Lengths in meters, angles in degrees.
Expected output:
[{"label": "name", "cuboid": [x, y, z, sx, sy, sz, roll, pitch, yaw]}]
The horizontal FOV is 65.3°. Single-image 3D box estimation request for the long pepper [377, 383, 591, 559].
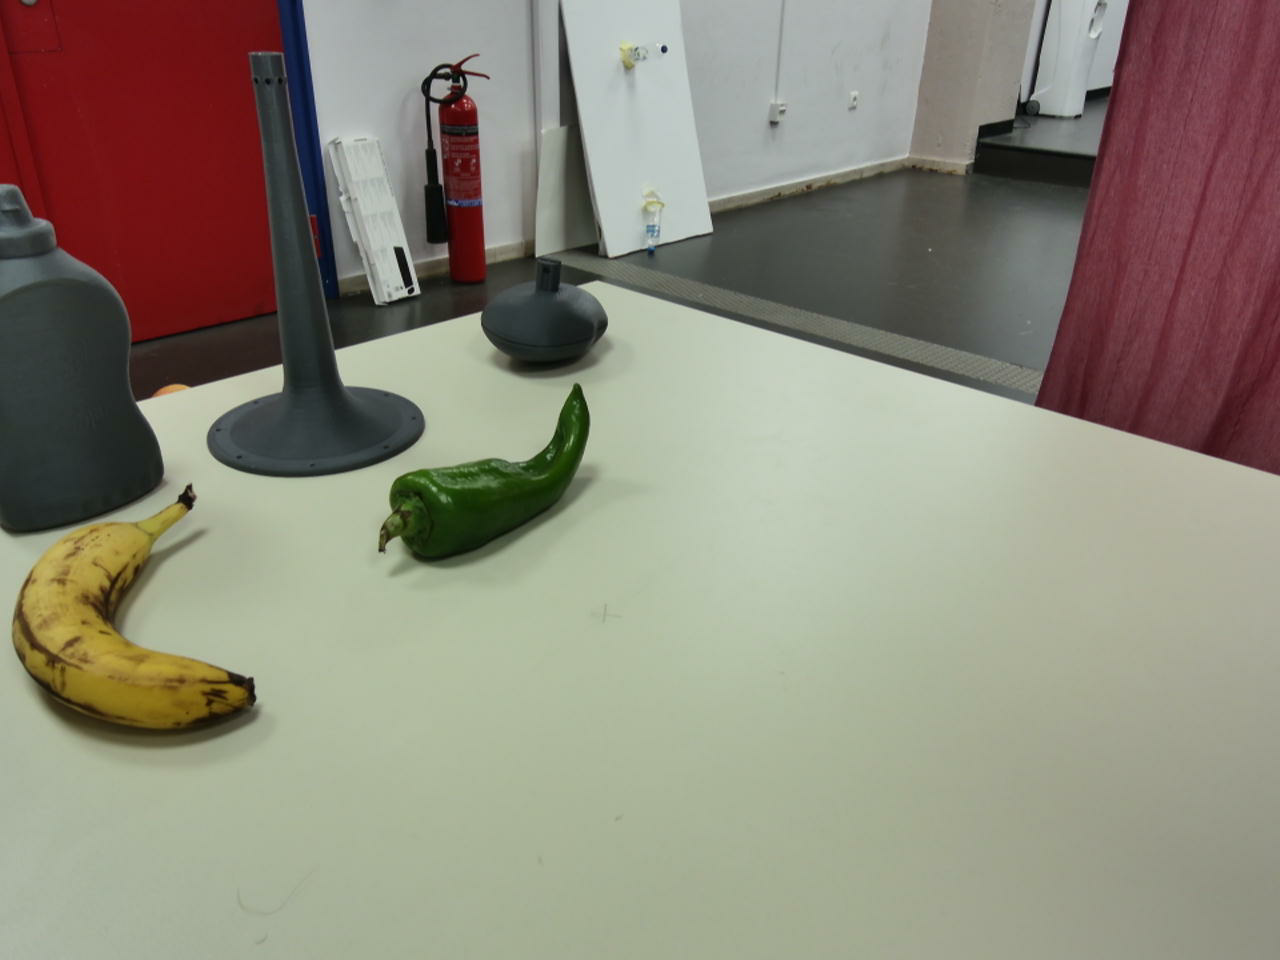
[{"label": "long pepper", "cuboid": [-0.086, -0.003, 0.595, 0.058, 0.065, 0.175, 21, 32, 35]}]
